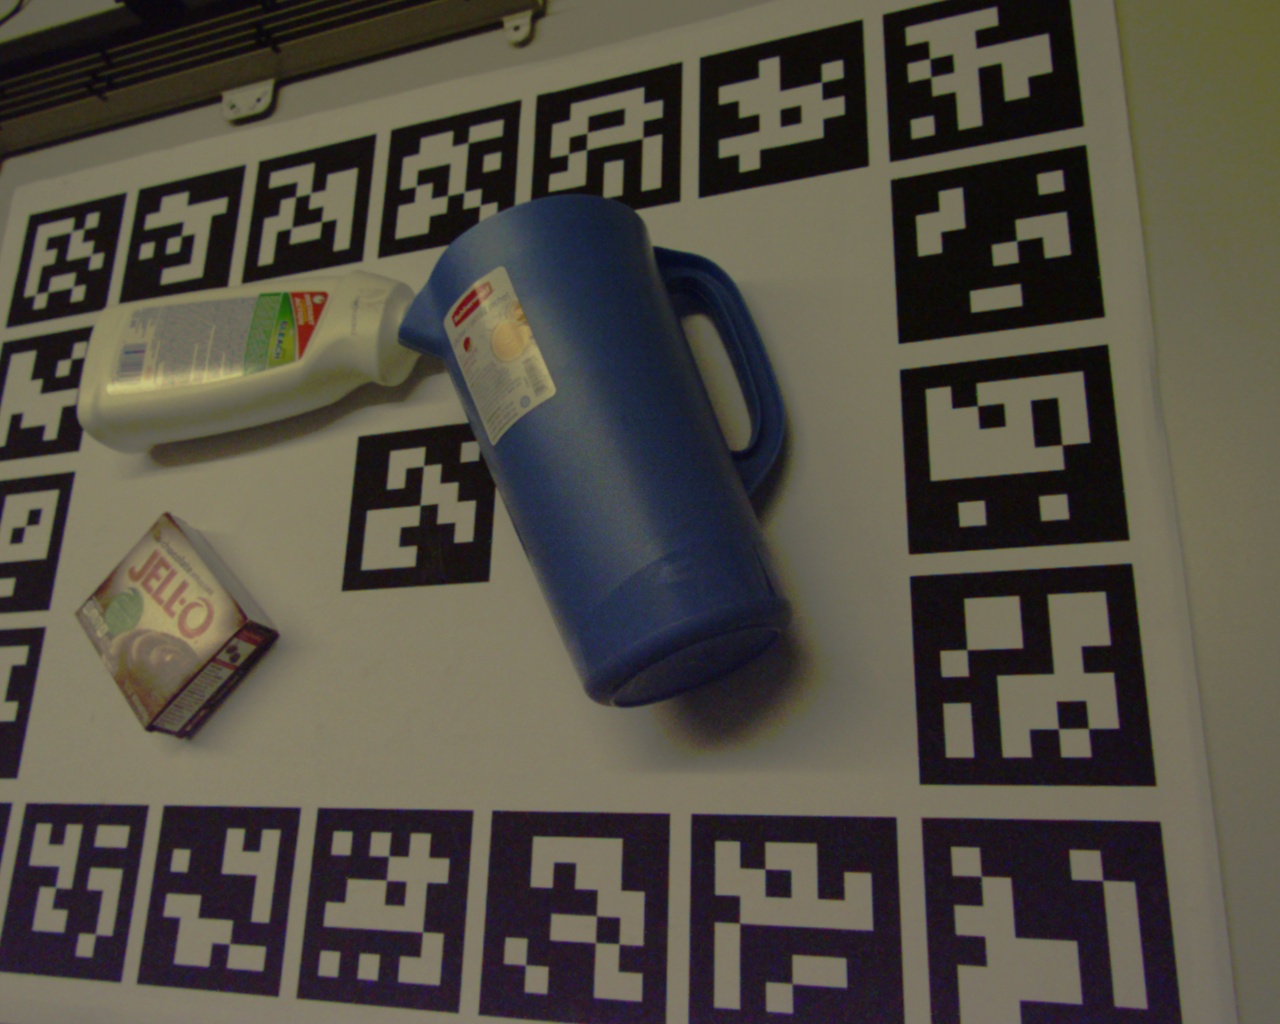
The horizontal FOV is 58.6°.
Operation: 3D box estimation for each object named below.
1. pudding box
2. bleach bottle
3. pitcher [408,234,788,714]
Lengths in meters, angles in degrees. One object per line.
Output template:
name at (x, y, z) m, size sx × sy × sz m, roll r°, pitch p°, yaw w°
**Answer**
pudding box at (-0.301, 0.074, 0.744) m, size 0.090 × 0.038 × 0.115 m, roll -45°, pitch 65°, yaw -2°
bleach bottle at (-0.244, -0.099, 0.767) m, size 0.253 × 0.067 × 0.103 m, roll -8°, pitch 76°, yaw 18°
pitcher at (-0.007, -0.022, 0.629) m, size 0.187 × 0.133 × 0.244 m, roll -17°, pitch 70°, yaw -21°
